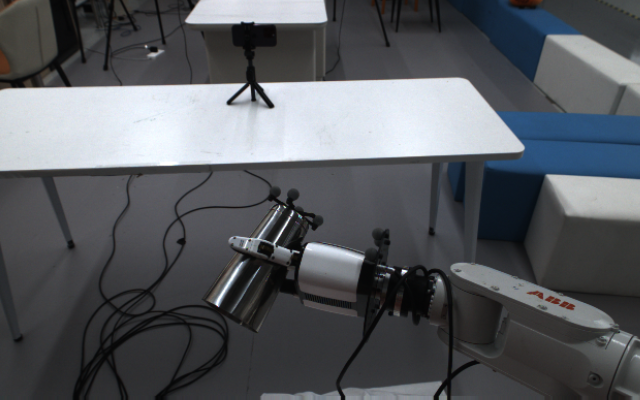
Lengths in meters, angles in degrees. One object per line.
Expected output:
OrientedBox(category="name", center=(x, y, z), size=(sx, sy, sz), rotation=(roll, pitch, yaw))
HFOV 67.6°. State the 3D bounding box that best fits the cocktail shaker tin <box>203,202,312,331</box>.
OrientedBox(category="cocktail shaker tin", center=(-0.083, 0.091, 0.700), size=(0.093, 0.093, 0.170), rotation=(20, 67, 24))
